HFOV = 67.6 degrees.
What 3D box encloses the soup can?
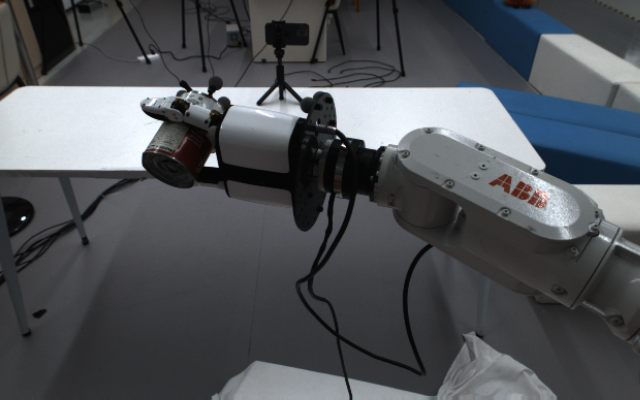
[{"bbox_3d":[-0.162,-0.074,0.589,0.067,0.067,0.101,12,59,14],"label":"soup can"}]
